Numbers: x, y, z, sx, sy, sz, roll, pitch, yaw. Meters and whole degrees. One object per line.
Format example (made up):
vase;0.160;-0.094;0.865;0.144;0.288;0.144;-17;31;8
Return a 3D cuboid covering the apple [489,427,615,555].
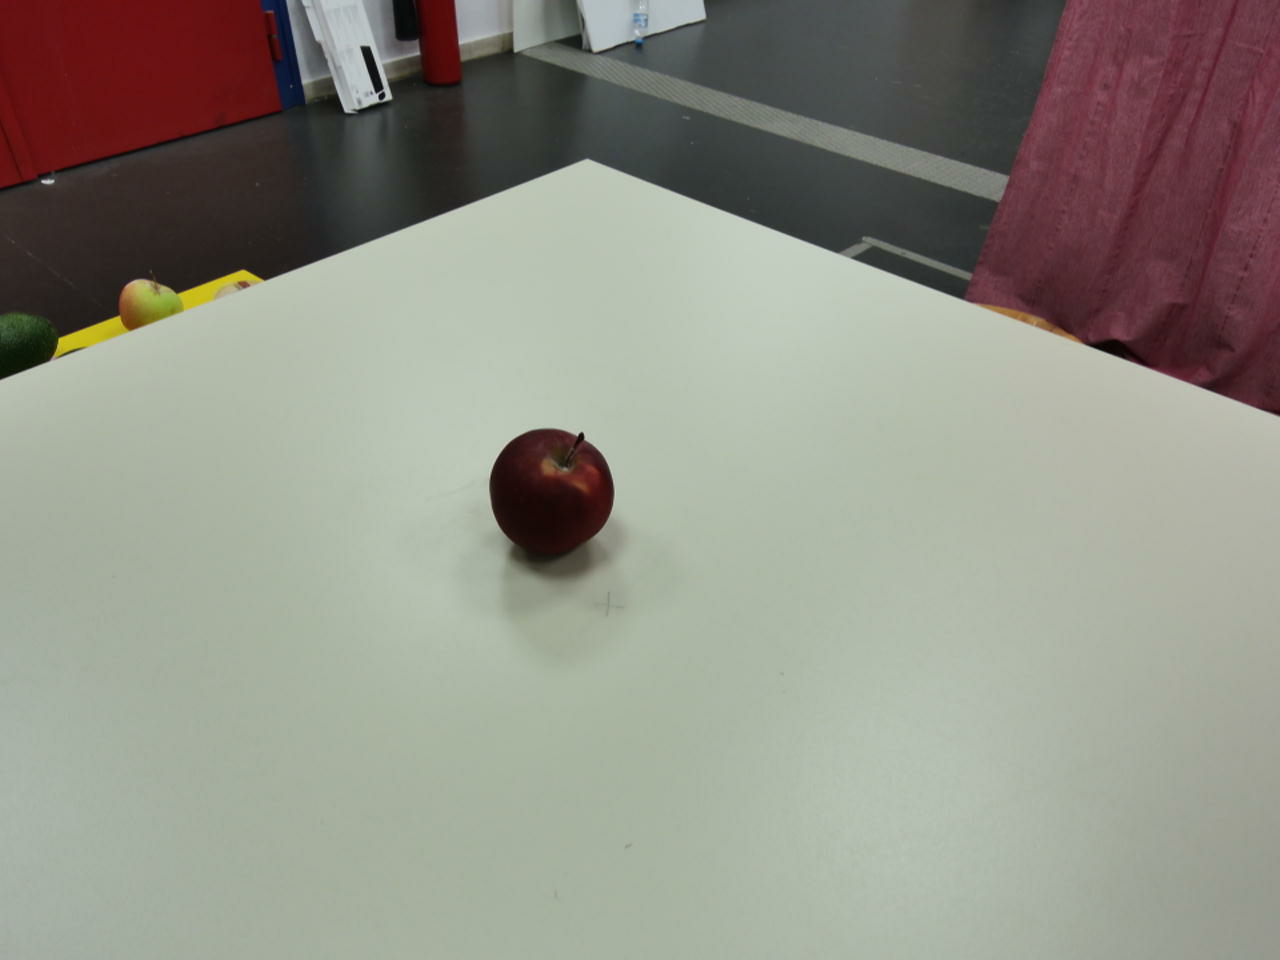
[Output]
apple;-0.050;0.007;0.560;0.070;0.072;0.070;0;38;0
